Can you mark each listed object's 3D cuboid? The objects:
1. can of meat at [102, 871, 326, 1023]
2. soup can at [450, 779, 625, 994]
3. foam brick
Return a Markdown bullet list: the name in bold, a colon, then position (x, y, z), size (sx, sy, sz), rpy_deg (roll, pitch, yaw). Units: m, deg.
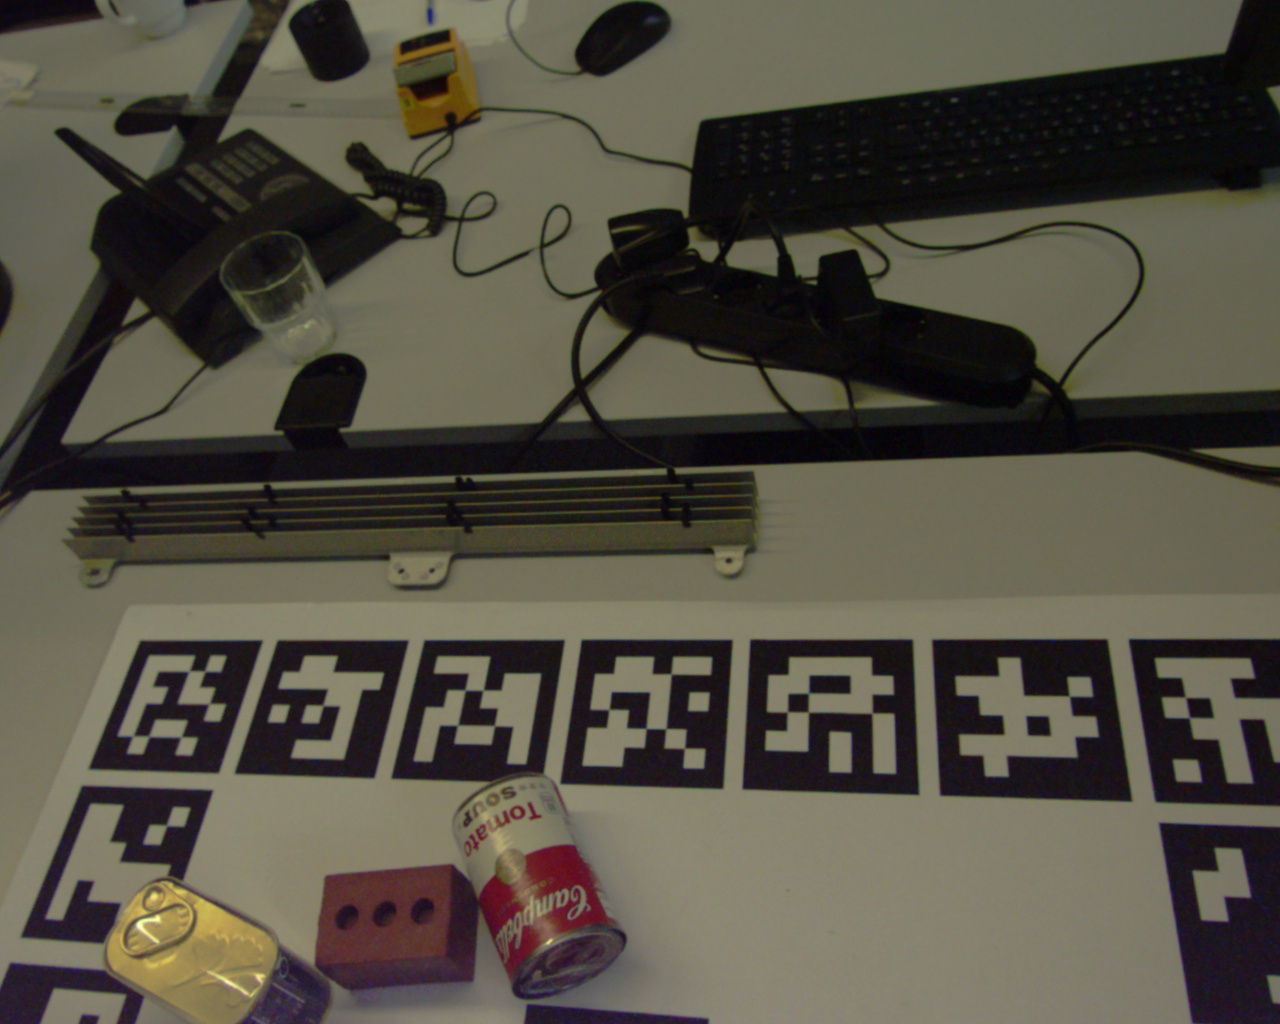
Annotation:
- **can of meat**: position (-0.245, 0.260, 0.667), size (0.103, 0.083, 0.057), rpy_deg (11, 60, 21)
- **soup can**: position (-0.062, 0.217, 0.670), size (0.068, 0.067, 0.103), rpy_deg (-32, 49, -8)
- **foam brick**: position (-0.145, 0.242, 0.676), size (0.078, 0.051, 0.053), rpy_deg (-10, 55, 8)
